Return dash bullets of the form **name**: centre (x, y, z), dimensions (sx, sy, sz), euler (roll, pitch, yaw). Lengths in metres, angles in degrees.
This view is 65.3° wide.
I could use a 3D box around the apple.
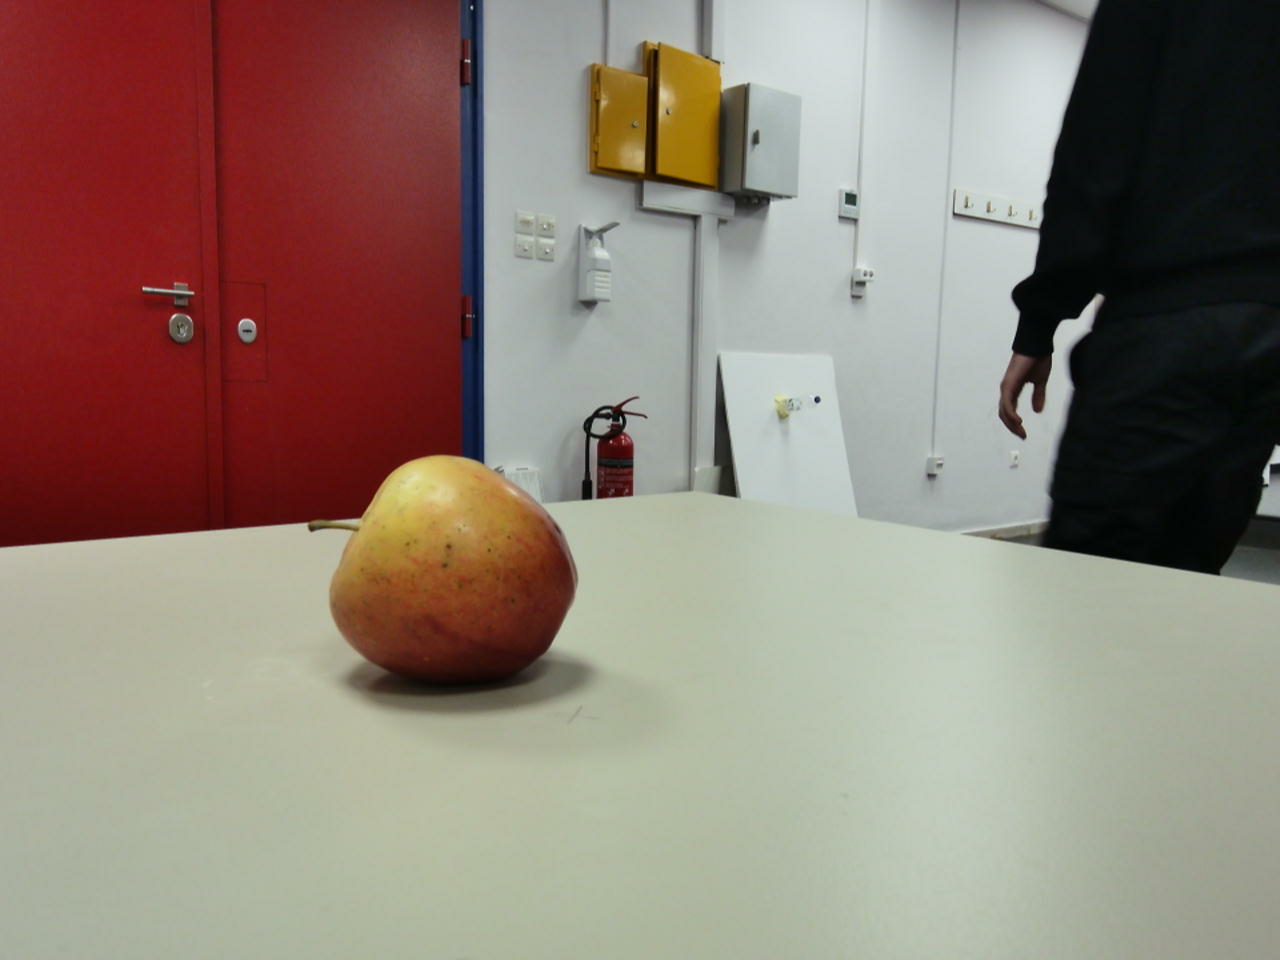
- **apple**: centre (-0.073, 0.034, 0.382), dimensions (0.093, 0.084, 0.086), euler (2, 4, 16)
